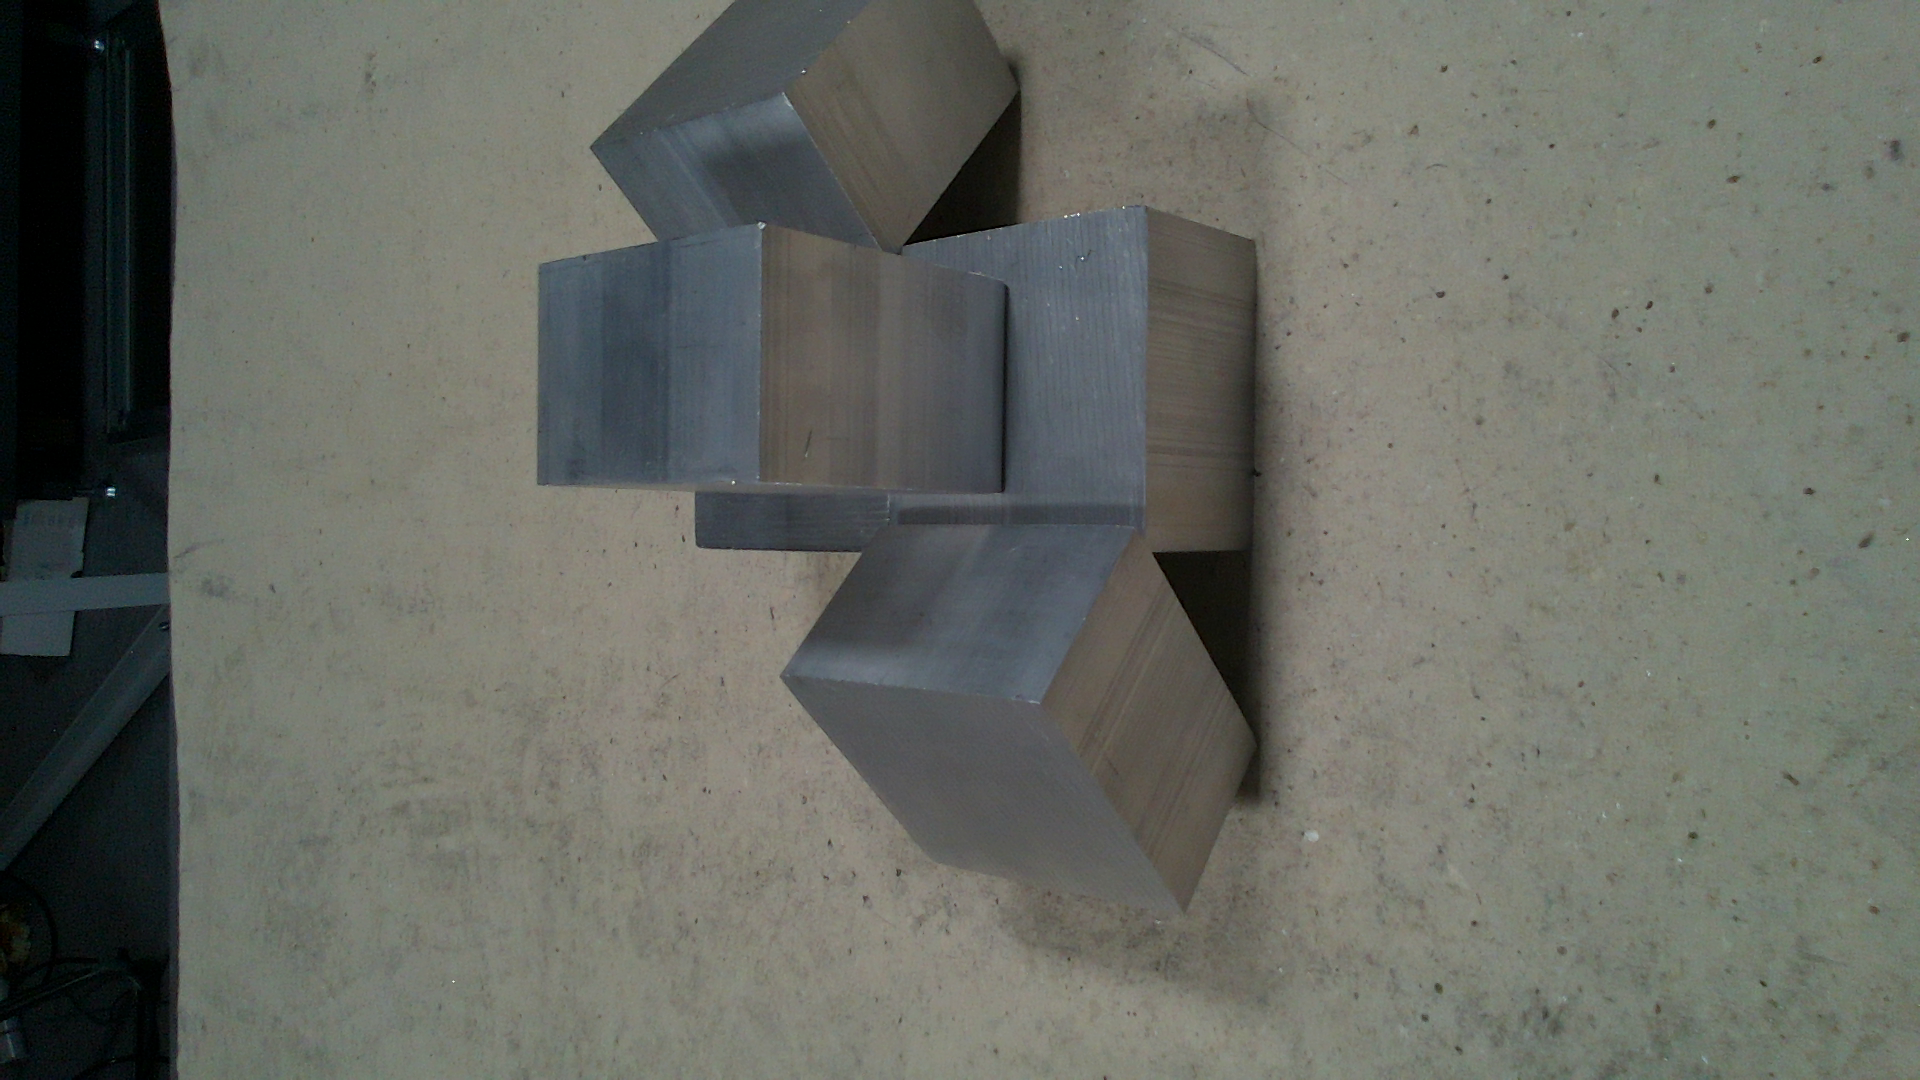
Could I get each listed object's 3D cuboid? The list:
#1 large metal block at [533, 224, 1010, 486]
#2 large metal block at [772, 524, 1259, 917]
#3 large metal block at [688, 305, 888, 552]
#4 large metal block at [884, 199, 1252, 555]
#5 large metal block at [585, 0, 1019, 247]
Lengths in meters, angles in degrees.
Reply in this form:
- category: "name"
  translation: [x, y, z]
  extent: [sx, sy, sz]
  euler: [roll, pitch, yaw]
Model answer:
- category: "large metal block"
  translation: [-0.045, -0.039, 0.331]
  extent: [0.080, 0.080, 0.050]
  euler: [2, 91, 40]
- category: "large metal block"
  translation: [0.015, 0.042, 0.338]
  extent: [0.080, 0.080, 0.050]
  euler: [0, 47, 40]
- category: "large metal block"
  translation: [-0.035, -0.037, 0.405]
  extent: [0.080, 0.050, 0.080]
  euler: [1, 91, 40]
- category: "large metal block"
  translation: [0.027, -0.037, 0.354]
  extent: [0.080, 0.050, 0.080]
  euler: [1, 91, 40]
- category: "large metal block"
  translation: [-0.043, -0.119, 0.387]
  extent: [0.080, 0.050, 0.080]
  euler: [1, 47, 41]
